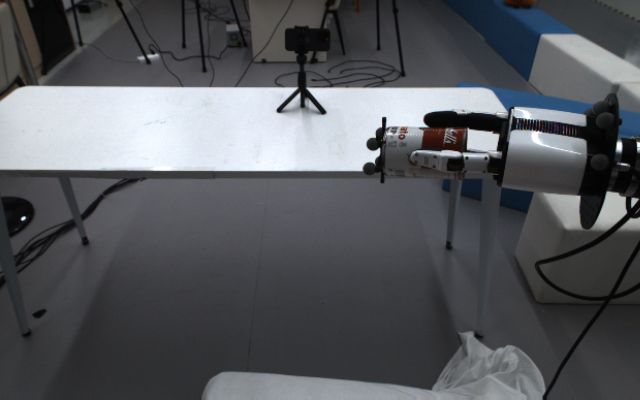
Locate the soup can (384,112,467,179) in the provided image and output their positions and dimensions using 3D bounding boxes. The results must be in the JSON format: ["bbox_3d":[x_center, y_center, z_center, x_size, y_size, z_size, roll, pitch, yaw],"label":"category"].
[{"bbox_3d":[0.140,-0.063,0.635,0.101,0.067,0.067,4,34,18],"label":"soup can"}]
